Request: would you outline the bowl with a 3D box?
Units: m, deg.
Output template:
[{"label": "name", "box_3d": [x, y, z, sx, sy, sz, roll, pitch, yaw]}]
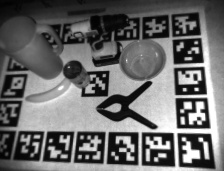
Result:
[{"label": "bowl", "box_3d": [0.086, -0.098, 0.764, 0.161, 0.055, 0.161, -3, 73, 11]}]

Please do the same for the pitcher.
[{"label": "pitcher", "box_3d": [-0.272, -0.143, 0.753, 0.188, 0.245, 0.132, -24, 65, 4]}]

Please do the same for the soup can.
[{"label": "soup can", "box_3d": [-0.142, -0.063, 0.776, 0.067, 0.103, 0.067, -5, 62, 11]}]

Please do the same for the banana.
[{"label": "banana", "box_3d": [-0.258, -0.003, 0.816, 0.197, 0.039, 0.073, -25, 60, 1]}]

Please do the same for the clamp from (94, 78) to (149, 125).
[{"label": "clamp", "box_3d": [0.020, 0.054, 0.730, 0.202, 0.037, 0.165, -3, 75, 11]}]

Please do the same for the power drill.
[{"label": "power drill", "box_3d": [-0.036, -0.178, 0.725, 0.184, 0.188, 0.057, -6, 70, 10]}]
